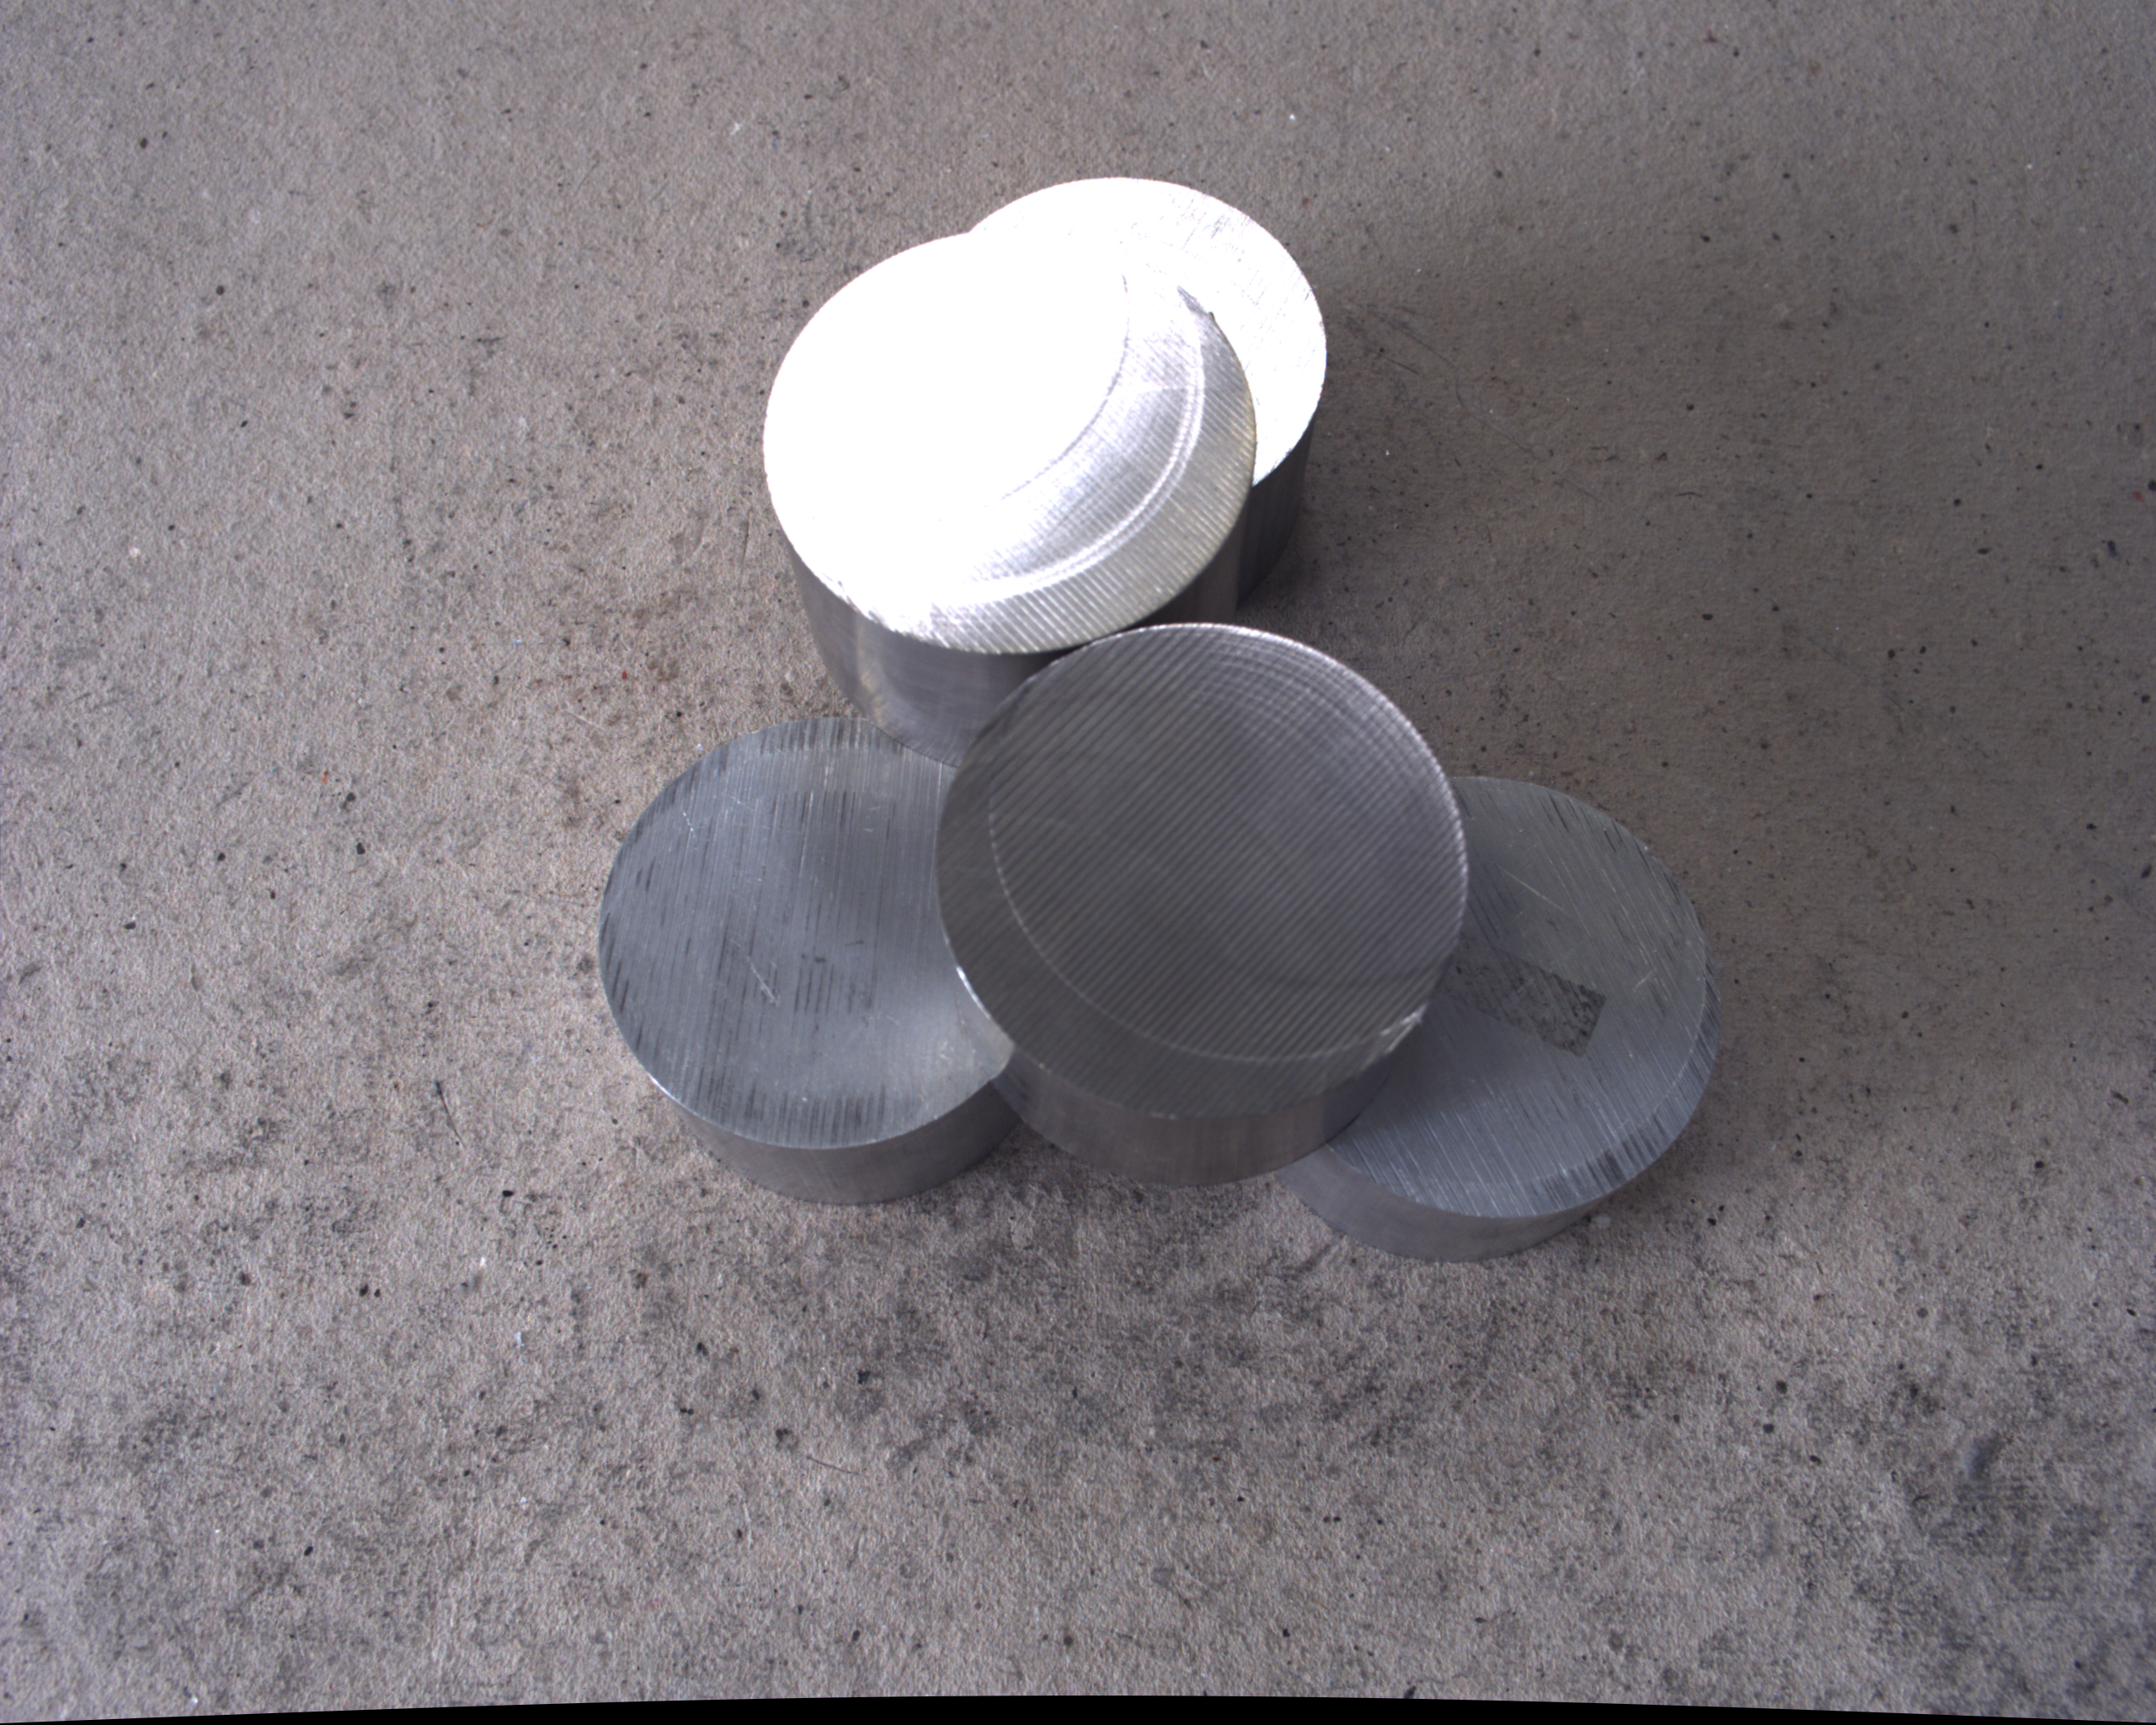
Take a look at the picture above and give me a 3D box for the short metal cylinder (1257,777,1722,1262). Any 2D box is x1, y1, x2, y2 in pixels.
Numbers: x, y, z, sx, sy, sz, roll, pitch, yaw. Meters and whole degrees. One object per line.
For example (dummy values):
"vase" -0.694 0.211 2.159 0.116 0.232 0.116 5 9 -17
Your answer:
"short metal cylinder" 0.071 0.030 0.385 0.081 0.050 0.080 0 70 0

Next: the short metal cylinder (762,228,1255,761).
"short metal cylinder" -0.011 -0.062 0.365 0.080 0.050 0.080 0 70 0

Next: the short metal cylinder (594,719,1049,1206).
"short metal cylinder" -0.044 0.020 0.388 0.081 0.050 0.080 0 70 0

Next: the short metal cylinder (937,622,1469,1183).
"short metal cylinder" 0.019 0.008 0.339 0.081 0.050 0.080 0 70 -1

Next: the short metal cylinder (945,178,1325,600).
"short metal cylinder" 0.008 -0.092 0.430 0.081 0.050 0.080 0 70 0
